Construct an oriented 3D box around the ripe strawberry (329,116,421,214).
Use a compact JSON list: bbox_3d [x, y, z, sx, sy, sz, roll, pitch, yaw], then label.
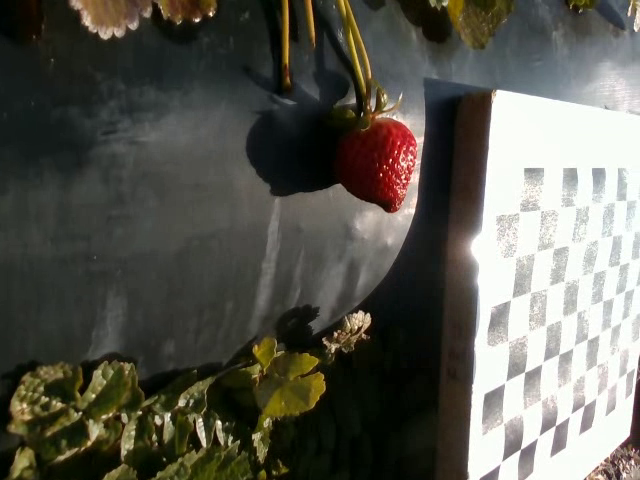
[{"bbox_3d":[0.025,-0.027,0.246,0.040,0.044,0.036,-31,15,-38],"label":"ripe strawberry"}]
